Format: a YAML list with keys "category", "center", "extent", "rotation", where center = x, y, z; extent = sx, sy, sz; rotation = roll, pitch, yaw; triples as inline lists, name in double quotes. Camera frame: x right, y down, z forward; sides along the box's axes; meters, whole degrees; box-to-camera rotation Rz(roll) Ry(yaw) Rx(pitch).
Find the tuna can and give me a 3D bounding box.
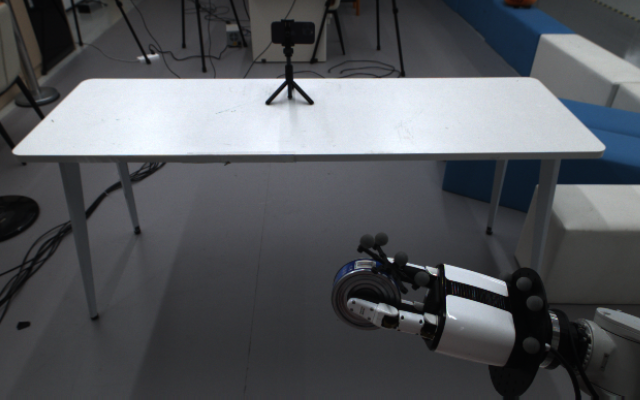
- category: "tuna can"
  center: [0.060, 0.123, 0.592]
  extent: [0.085, 0.085, 0.034]
  rotation: [7, 19, 6]
